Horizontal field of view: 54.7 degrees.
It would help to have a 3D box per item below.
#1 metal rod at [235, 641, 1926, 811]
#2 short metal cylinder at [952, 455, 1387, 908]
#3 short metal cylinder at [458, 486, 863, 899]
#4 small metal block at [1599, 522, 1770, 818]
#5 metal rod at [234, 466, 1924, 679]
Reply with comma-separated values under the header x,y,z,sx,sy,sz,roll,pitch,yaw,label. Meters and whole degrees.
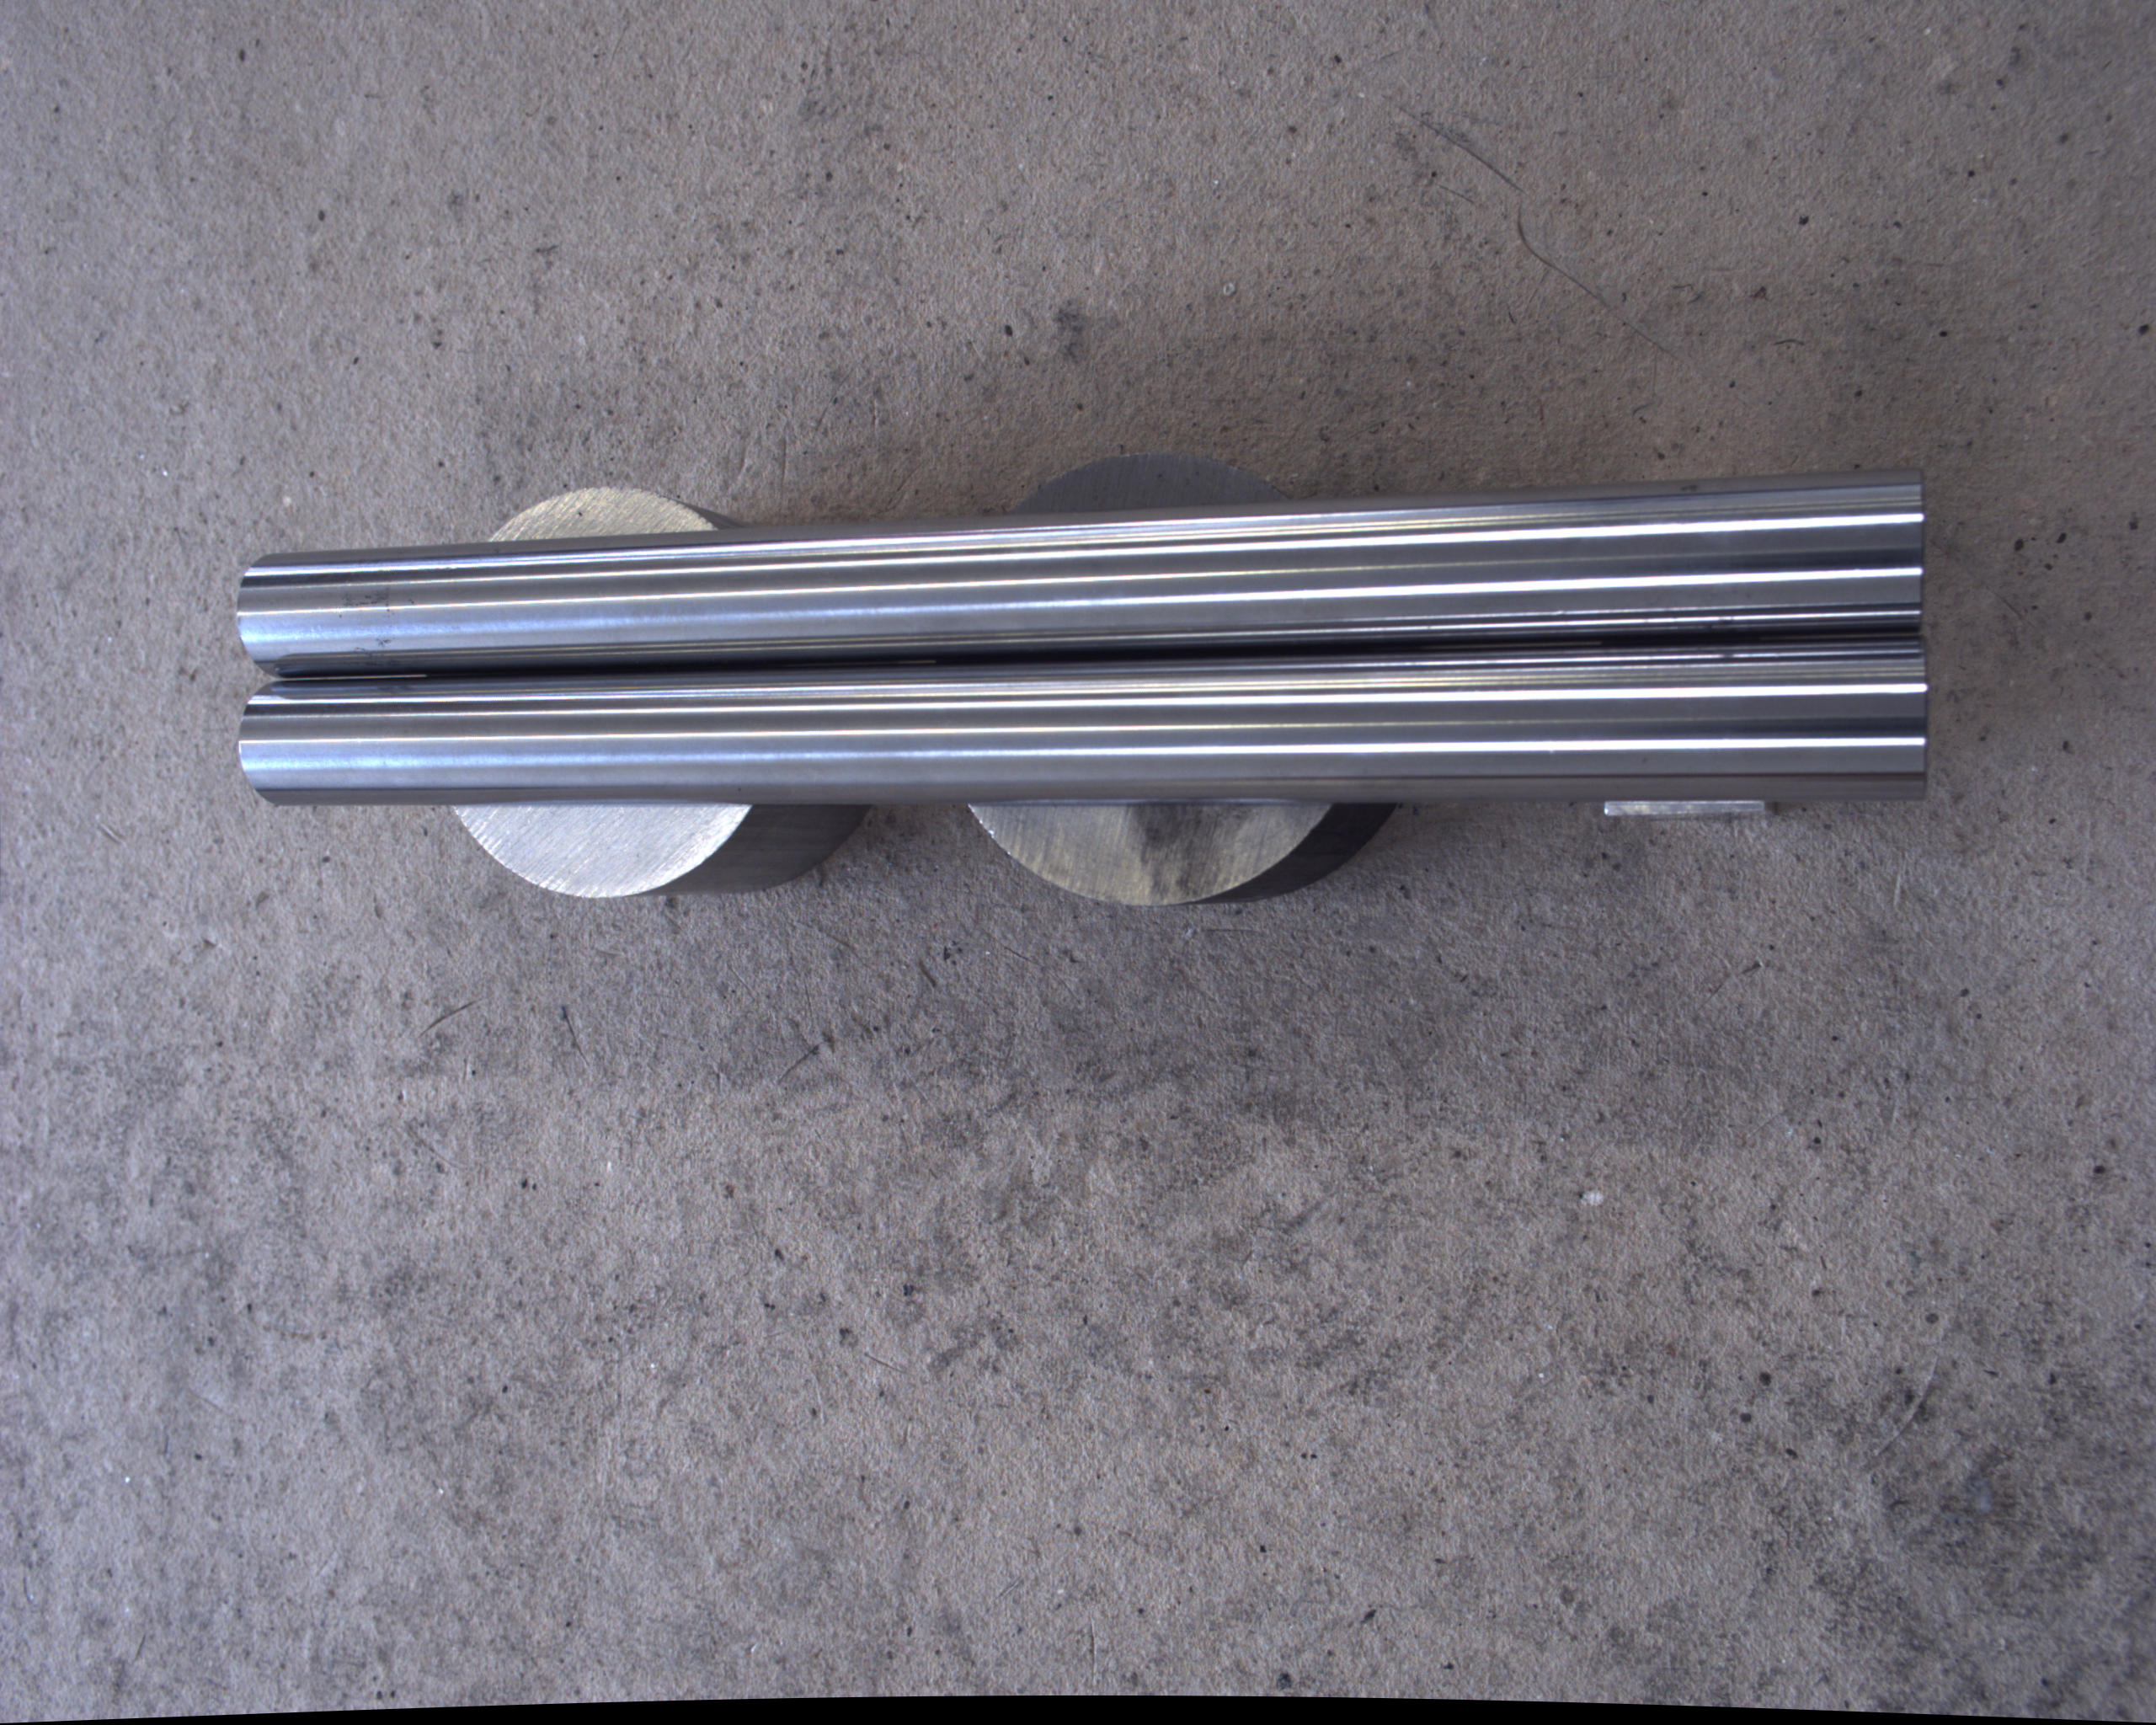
x,y,z,sx,sy,sz,roll,pitch,yaw,label
-0.016,-0.022,0.362,0.301,0.025,0.025,0,90,19,metal rod
0.020,-0.032,0.390,0.080,0.050,0.080,0,90,20,short metal cylinder
-0.084,-0.033,0.426,0.080,0.050,0.080,0,90,20,short metal cylinder
0.106,-0.033,0.361,0.025,0.050,0.050,-2,89,20,small metal block
-0.016,-0.048,0.362,0.301,0.025,0.025,0,90,19,metal rod
